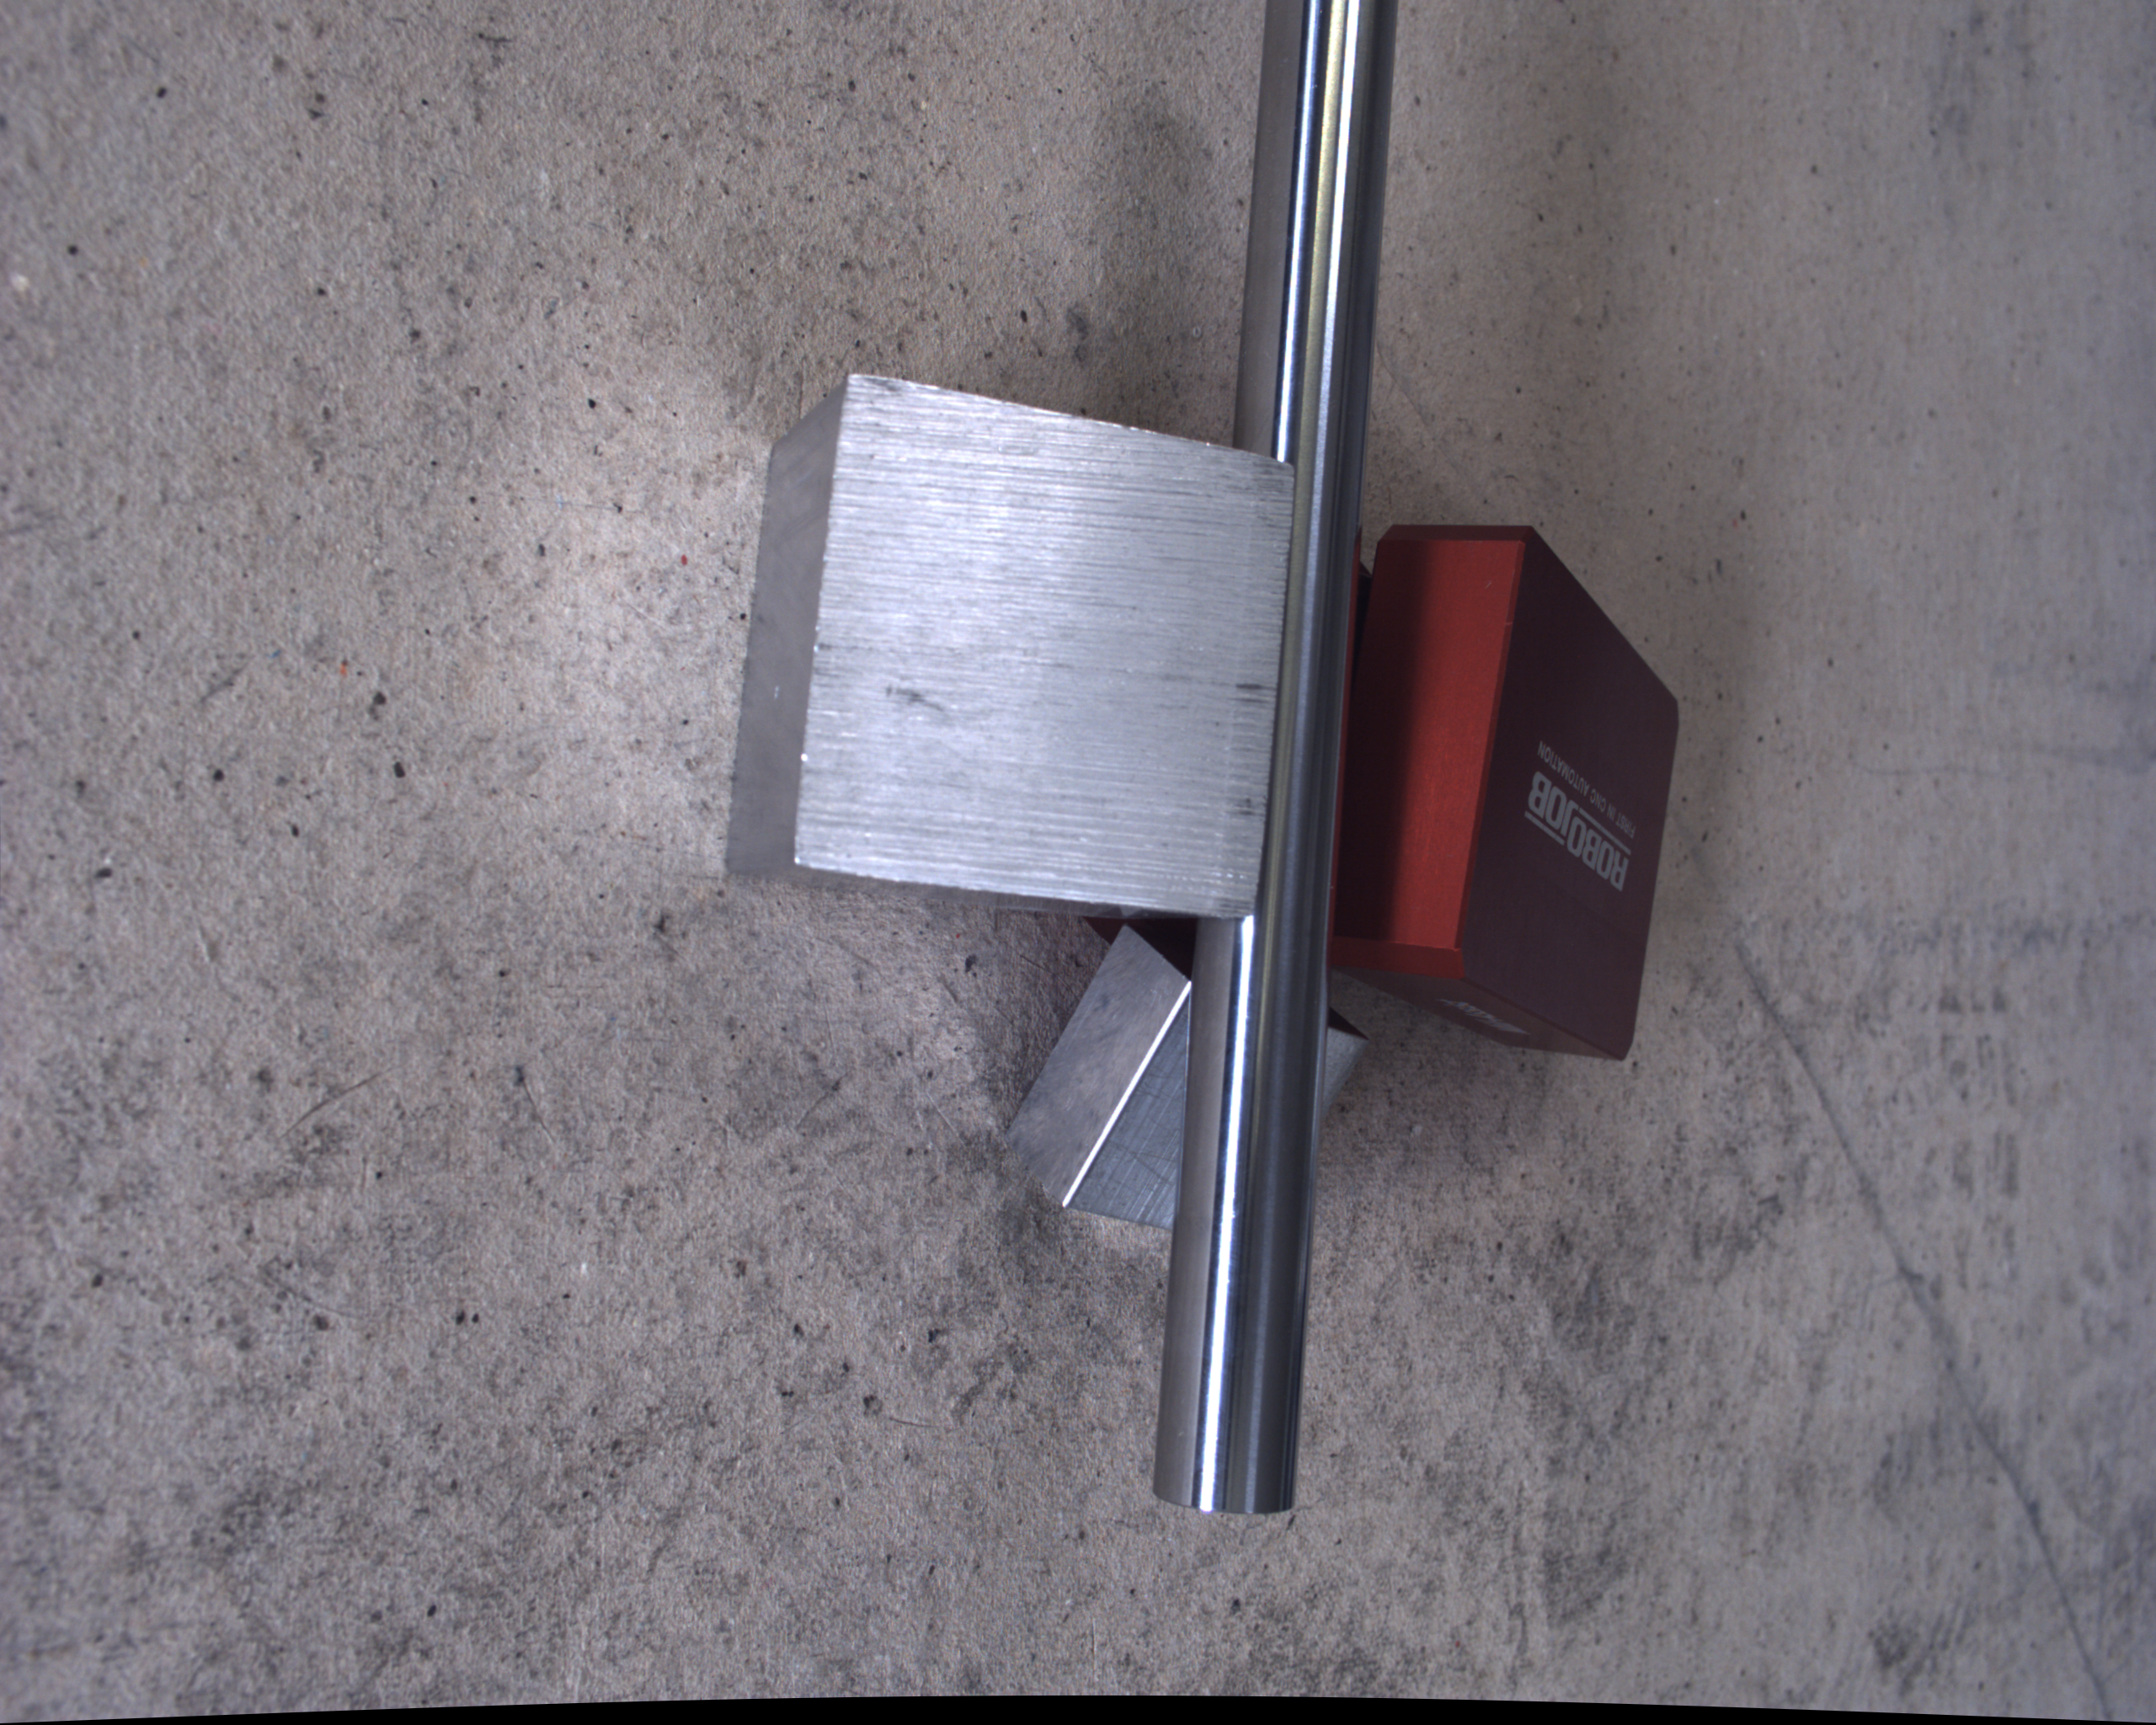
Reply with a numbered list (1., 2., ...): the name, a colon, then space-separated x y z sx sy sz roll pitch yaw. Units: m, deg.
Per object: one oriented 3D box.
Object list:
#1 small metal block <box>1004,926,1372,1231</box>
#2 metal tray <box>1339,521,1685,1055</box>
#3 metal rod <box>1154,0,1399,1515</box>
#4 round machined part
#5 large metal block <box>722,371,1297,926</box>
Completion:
1. small metal block: 0.022 0.045 0.412 0.050 0.025 0.050 20 103 -38
2. metal tray: 0.097 -0.011 0.455 0.130 0.030 0.090 24 75 -59
3. metal rod: 0.038 -0.036 0.383 0.025 0.025 0.298 10 82 -40
4. round machined part: 0.040 -0.025 0.428 0.099 0.042 0.097 0 90 -40
5. large metal block: -0.013 -0.033 0.365 0.081 0.050 0.080 7 85 -22
